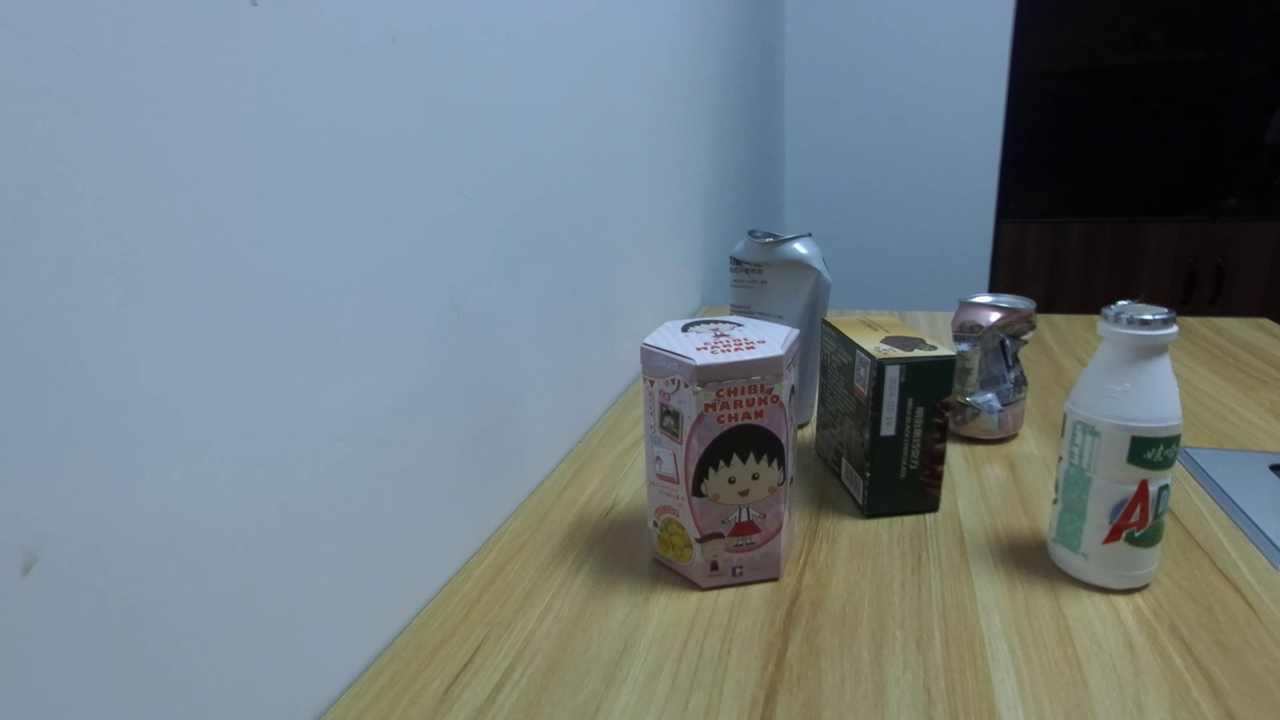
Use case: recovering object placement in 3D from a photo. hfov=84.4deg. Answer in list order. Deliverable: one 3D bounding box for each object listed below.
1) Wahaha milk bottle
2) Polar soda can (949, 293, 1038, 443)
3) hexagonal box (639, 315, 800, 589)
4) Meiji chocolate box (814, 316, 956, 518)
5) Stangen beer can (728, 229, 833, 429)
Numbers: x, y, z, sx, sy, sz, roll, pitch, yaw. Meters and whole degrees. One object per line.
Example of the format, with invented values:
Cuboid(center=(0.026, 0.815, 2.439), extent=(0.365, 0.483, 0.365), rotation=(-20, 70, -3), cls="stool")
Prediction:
Cuboid(center=(0.255, 0.052, 0.376), extent=(0.053, 0.136, 0.053), rotation=(-2, 15, 1), cls="Wahaha milk bottle")
Cuboid(center=(0.276, 0.005, 0.562), extent=(0.070, 0.114, 0.074), rotation=(5, 21, 5), cls="Polar soda can")
Cuboid(center=(0.048, 0.051, 0.406), extent=(0.091, 0.136, 0.083), rotation=(-6, 18, -8), cls="hexagonal box")
Cuboid(center=(0.165, 0.034, 0.490), extent=(0.056, 0.109, 0.110), rotation=(-3, 18, -3), cls="Meiji chocolate box")
Cuboid(center=(0.116, -0.026, 0.592), extent=(0.077, 0.162, 0.066), rotation=(-4, 19, 1), cls="Stangen beer can")
